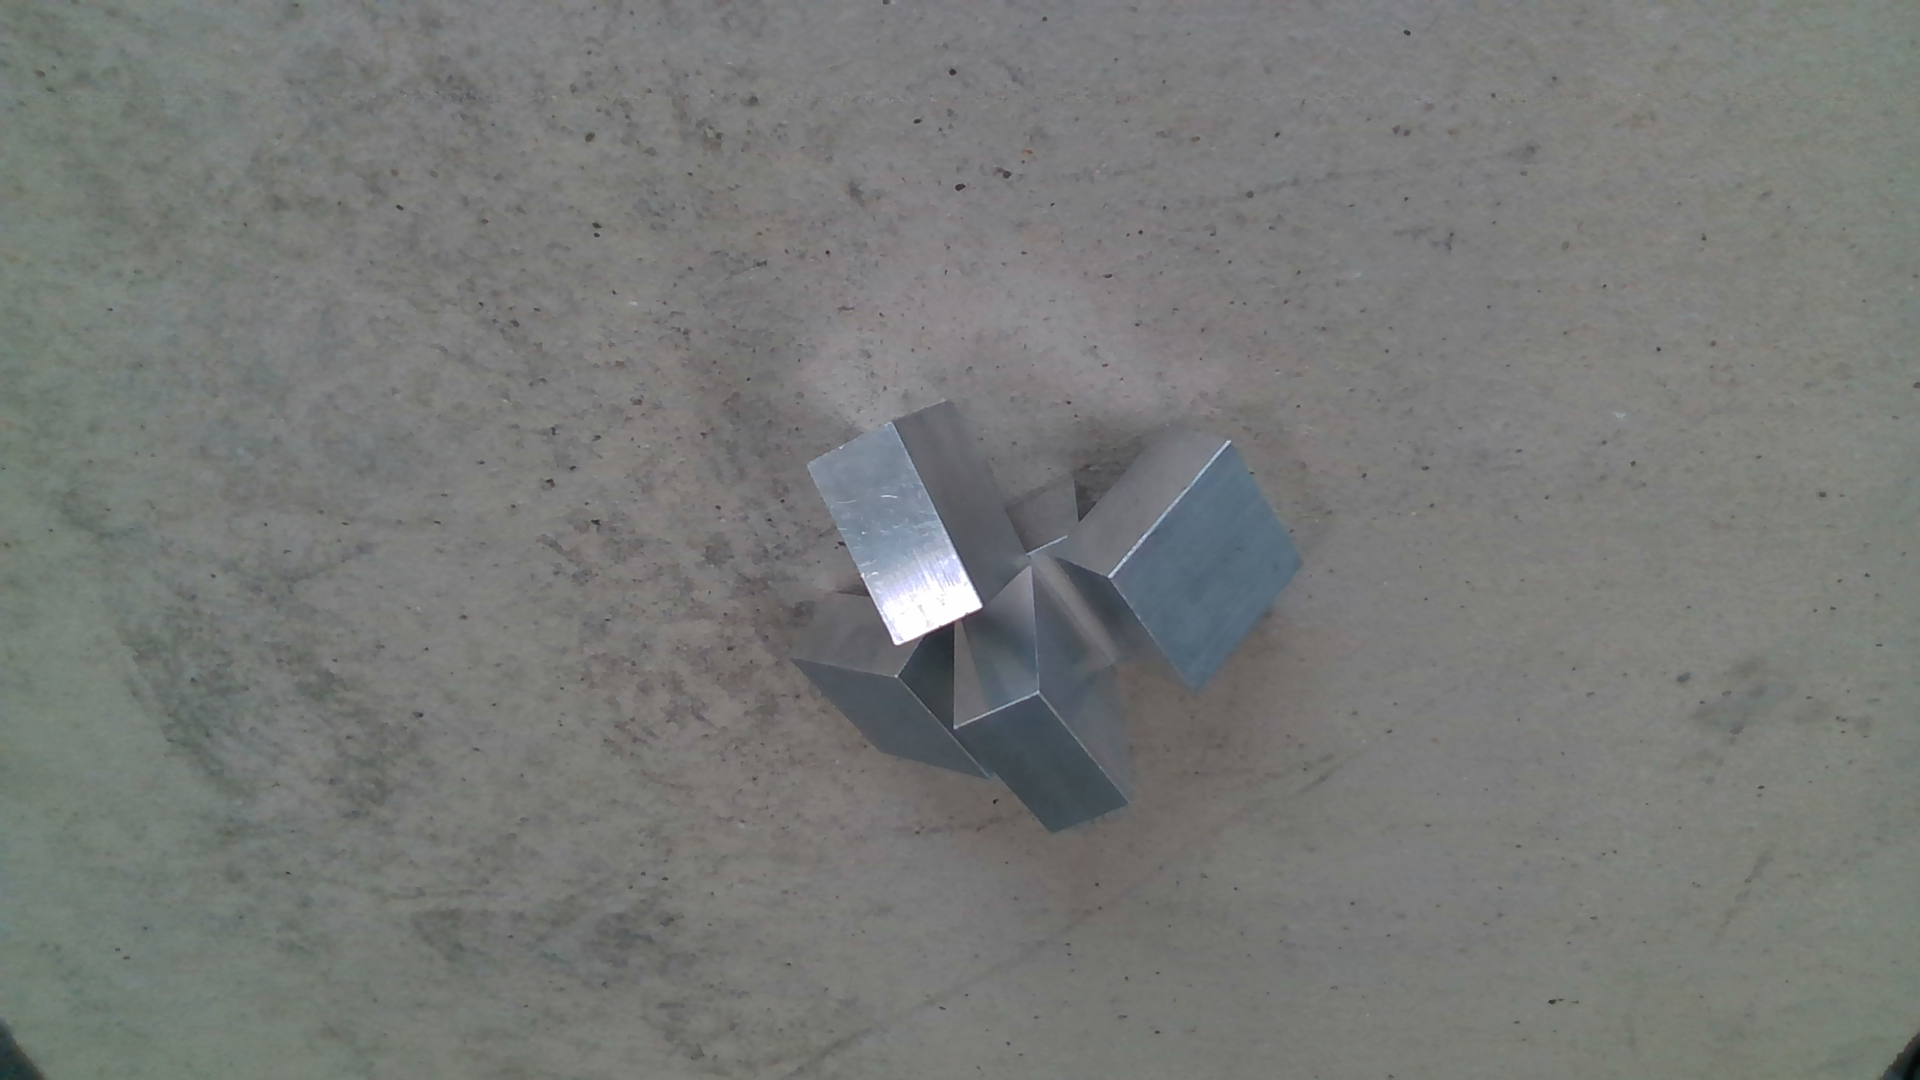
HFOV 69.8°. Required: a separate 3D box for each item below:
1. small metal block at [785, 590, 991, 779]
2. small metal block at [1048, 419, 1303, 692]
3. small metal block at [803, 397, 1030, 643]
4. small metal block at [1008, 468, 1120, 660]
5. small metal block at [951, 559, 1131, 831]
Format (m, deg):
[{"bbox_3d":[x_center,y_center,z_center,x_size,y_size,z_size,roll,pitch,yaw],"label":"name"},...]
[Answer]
[{"bbox_3d":[-0.015,0.042,0.408,0.050,0.025,0.050,4,142,47],"label":"small metal block"},{"bbox_3d":[0.060,0.004,0.376,0.050,0.025,0.050,-48,124,-14],"label":"small metal block"},{"bbox_3d":[-0.009,-0.007,0.355,0.025,0.050,0.050,-25,94,20],"label":"small metal block"},{"bbox_3d":[0.024,0.014,0.402,0.050,0.025,0.050,-25,123,19],"label":"small metal block"},{"bbox_3d":[0.022,0.042,0.376,0.025,0.050,0.050,-25,125,20],"label":"small metal block"}]
